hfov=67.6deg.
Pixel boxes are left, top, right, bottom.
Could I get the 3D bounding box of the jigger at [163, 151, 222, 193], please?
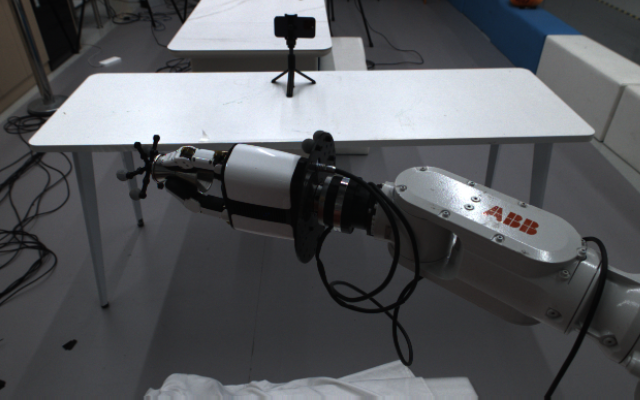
[{"bbox_3d":[-0.174,-0.040,0.634,0.071,0.043,0.043,10,35,16],"label":"jigger"}]
